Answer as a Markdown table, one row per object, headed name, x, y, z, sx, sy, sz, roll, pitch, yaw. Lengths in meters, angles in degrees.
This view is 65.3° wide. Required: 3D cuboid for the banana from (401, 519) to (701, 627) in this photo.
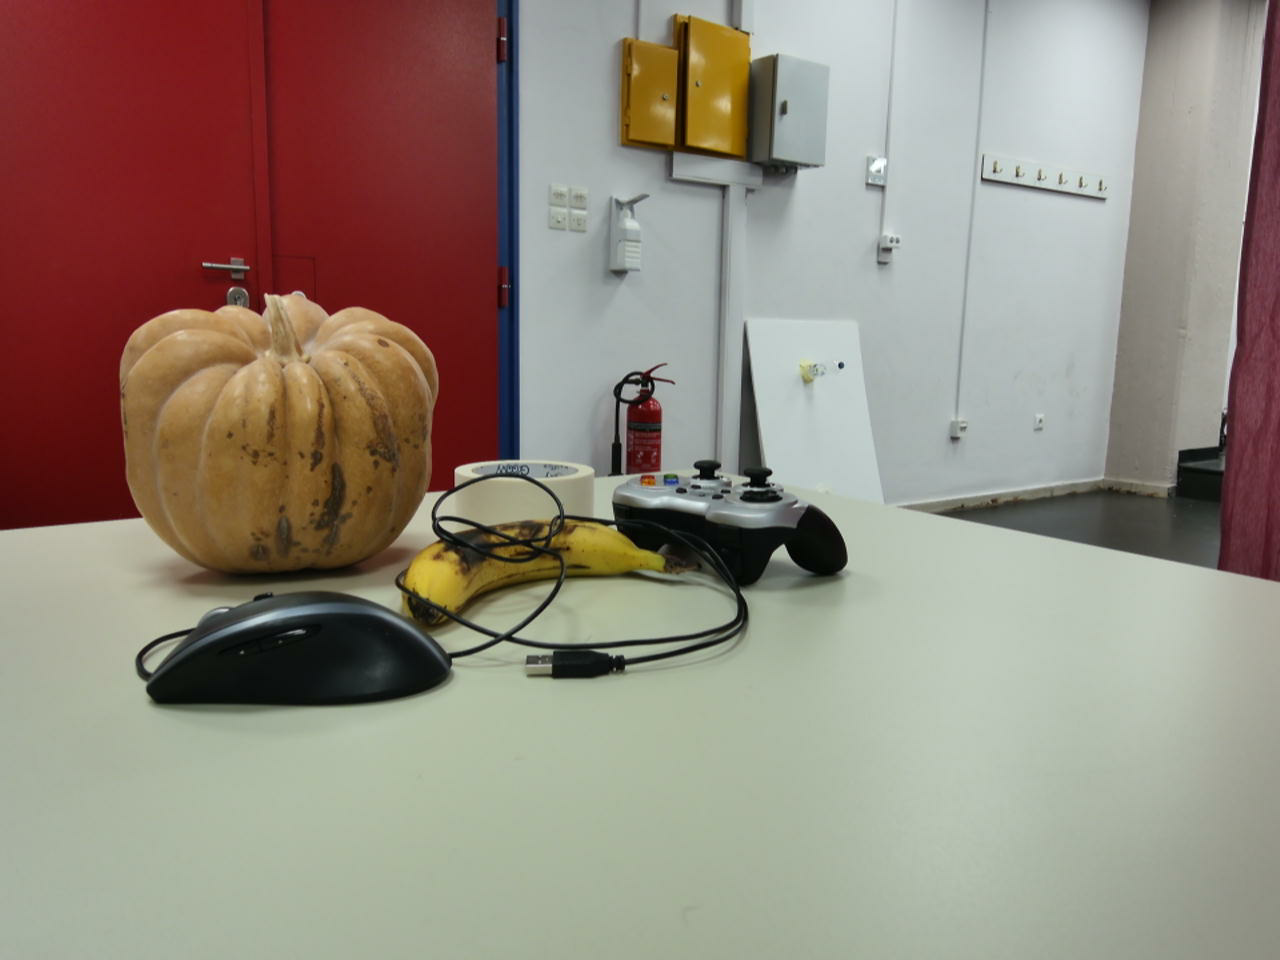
| name | x | y | z | sx | sy | sz | roll | pitch | yaw |
| --- | --- | --- | --- | --- | --- | --- | --- | --- | --- |
| banana | -0.066 | 0.049 | 0.594 | 0.187 | 0.039 | 0.094 | -6 | 9 | -38 |
